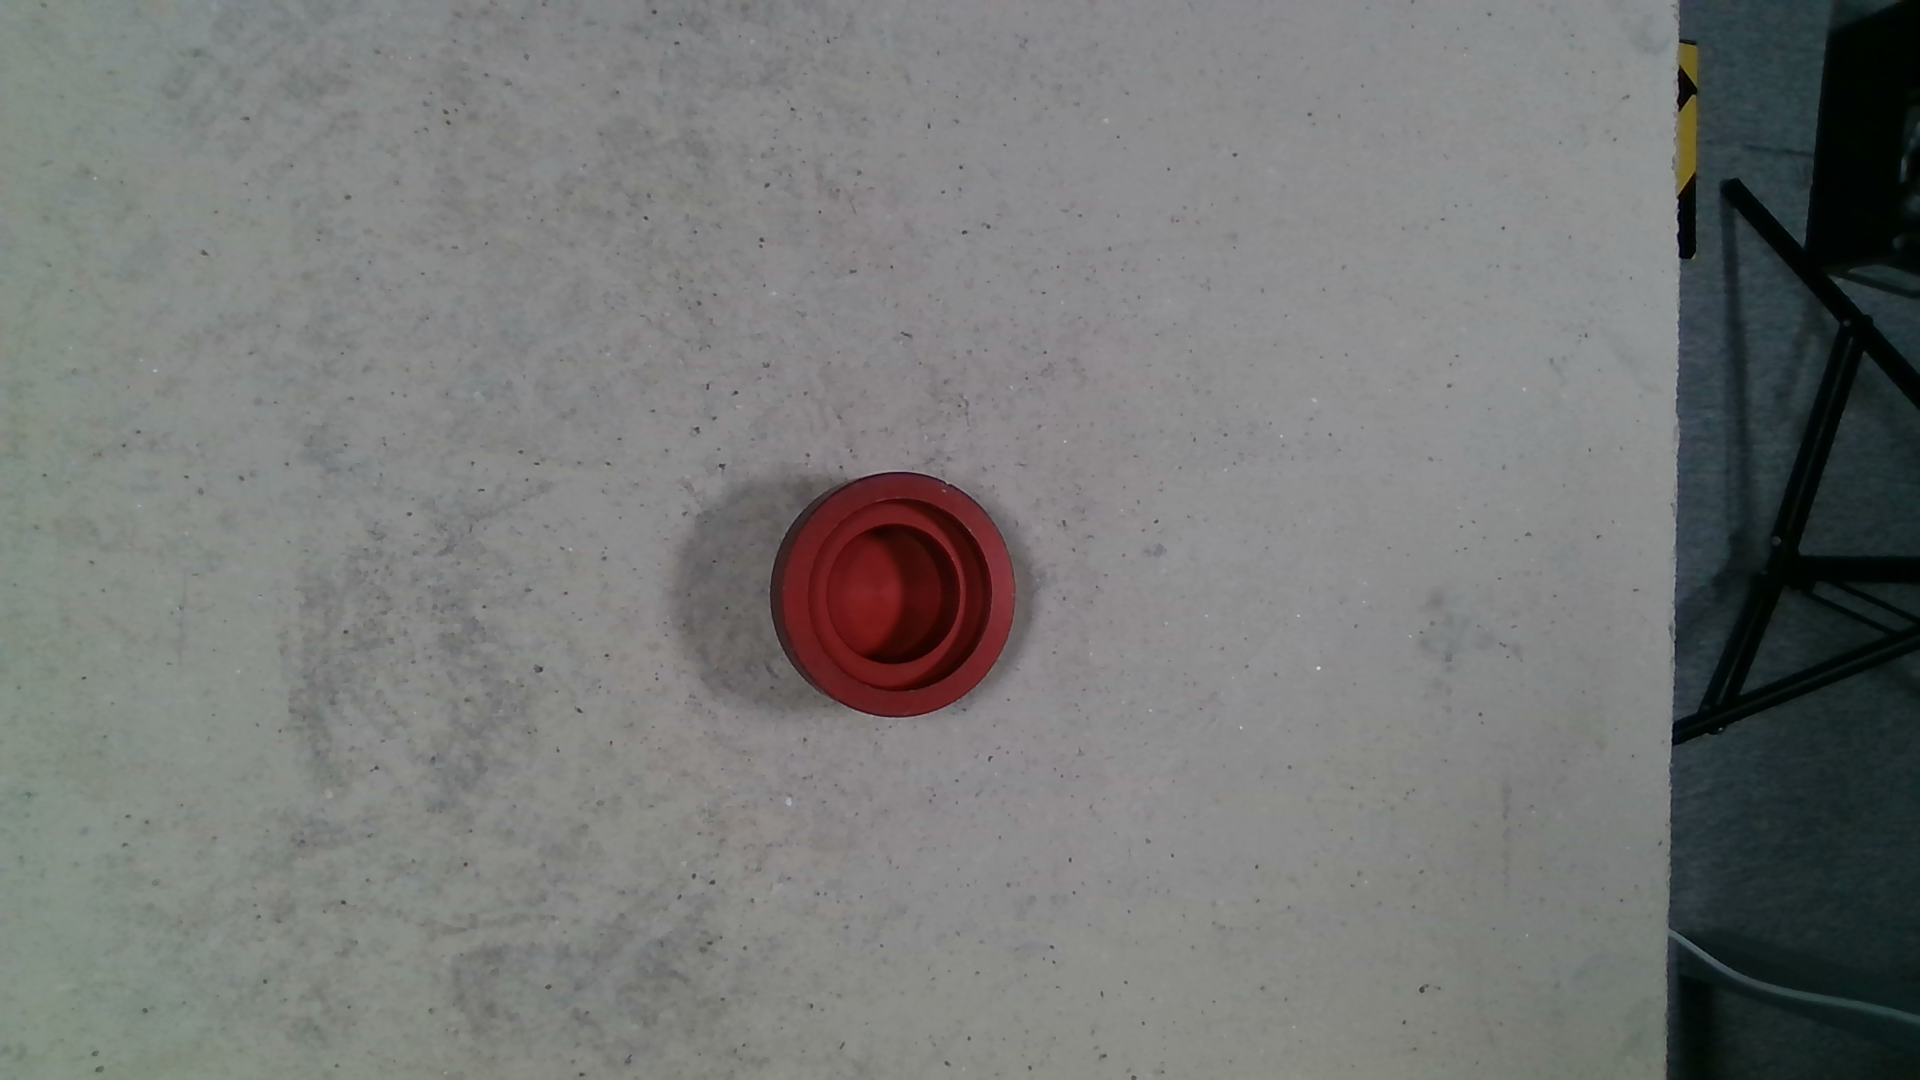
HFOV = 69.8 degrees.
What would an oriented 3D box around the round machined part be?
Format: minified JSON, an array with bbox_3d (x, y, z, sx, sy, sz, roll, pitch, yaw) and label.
[{"bbox_3d":[-0.030,0.021,0.566,0.098,0.042,0.098,0,90,-20],"label":"round machined part"}]
